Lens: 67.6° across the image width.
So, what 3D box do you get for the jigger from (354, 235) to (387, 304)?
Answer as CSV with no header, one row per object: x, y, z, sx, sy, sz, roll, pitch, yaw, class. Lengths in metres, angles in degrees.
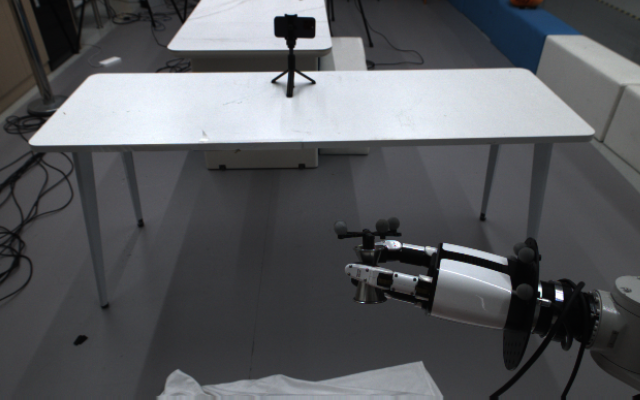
0.063,0.094,0.619,0.043,0.071,0.043,-2,3,0,jigger
